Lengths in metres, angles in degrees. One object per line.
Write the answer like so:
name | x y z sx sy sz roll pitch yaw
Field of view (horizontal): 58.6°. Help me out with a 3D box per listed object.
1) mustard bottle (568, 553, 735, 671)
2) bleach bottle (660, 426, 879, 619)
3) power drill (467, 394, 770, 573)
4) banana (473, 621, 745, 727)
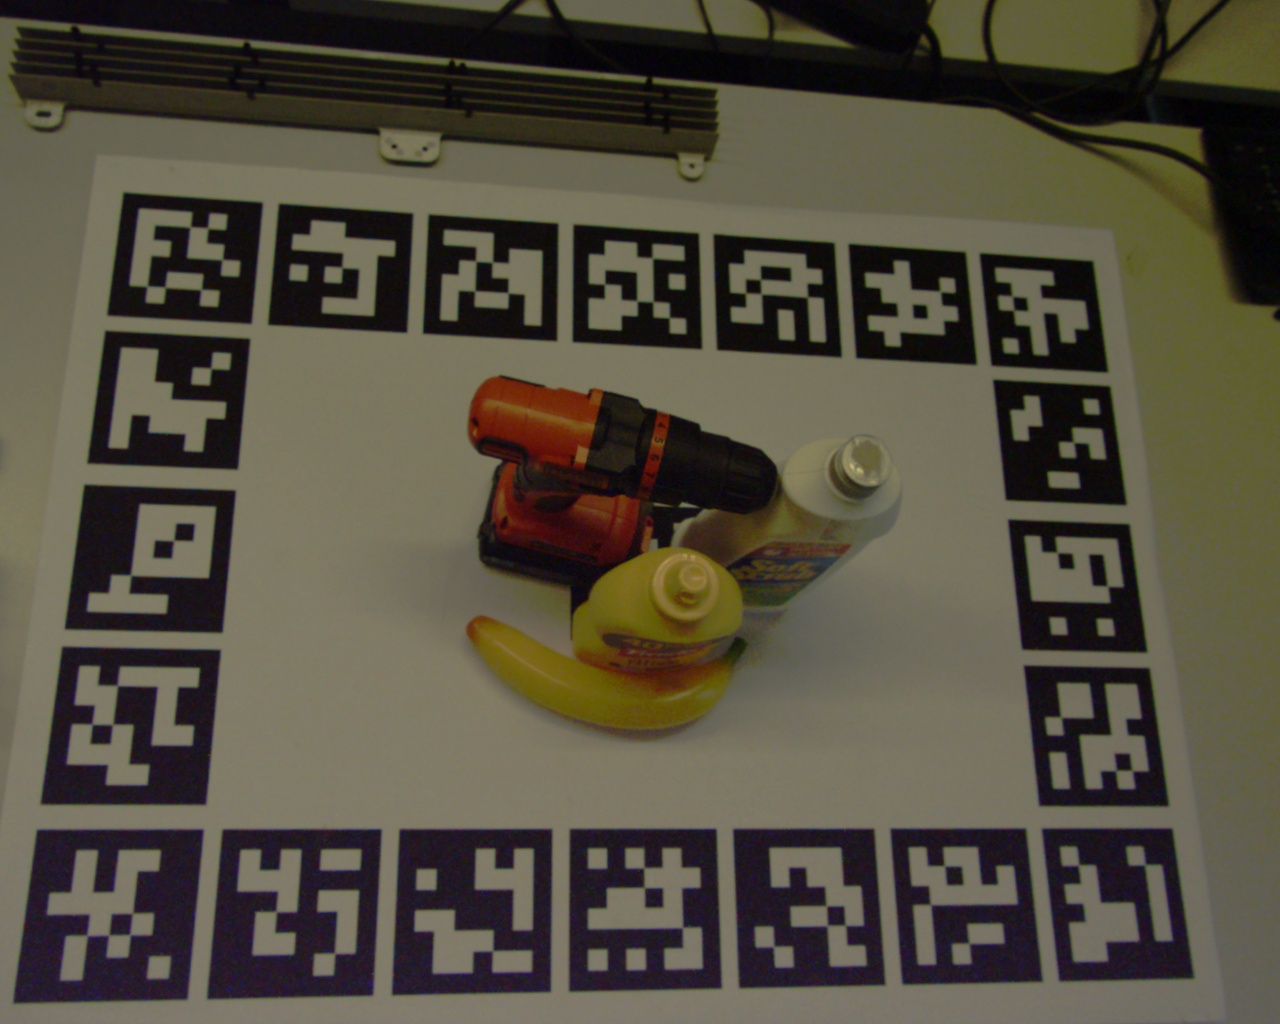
mustard bottle | 0.011 0.066 0.749 0.096 0.192 0.058 3 75 -10
bleach bottle | 0.084 0.007 0.751 0.102 0.251 0.068 5 69 -8
power drill | -0.025 -0.010 0.743 0.184 0.187 0.057 15 72 -7
banana | -0.024 0.115 0.820 0.197 0.039 0.074 7 75 -4
